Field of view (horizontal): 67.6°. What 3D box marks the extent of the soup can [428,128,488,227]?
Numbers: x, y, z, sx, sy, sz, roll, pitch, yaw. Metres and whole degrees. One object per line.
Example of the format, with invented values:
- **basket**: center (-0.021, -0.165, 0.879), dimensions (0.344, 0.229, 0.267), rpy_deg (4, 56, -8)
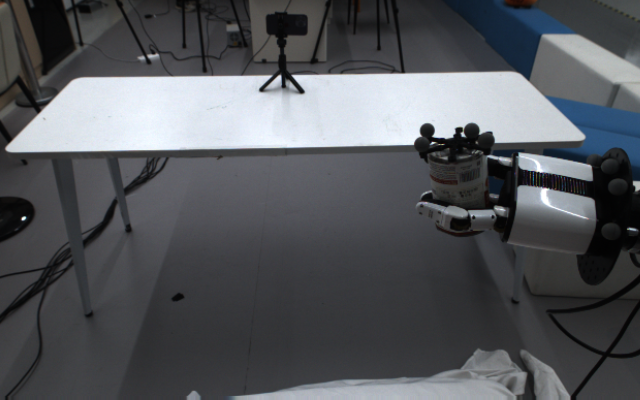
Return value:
- **soup can**: center (0.170, -0.017, 0.578), dimensions (0.067, 0.101, 0.067), rpy_deg (-11, 27, 6)
